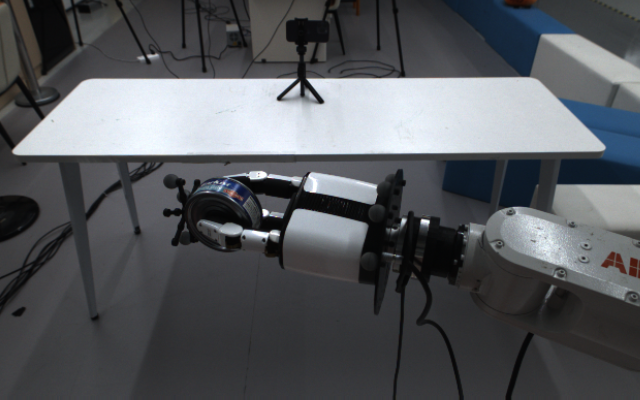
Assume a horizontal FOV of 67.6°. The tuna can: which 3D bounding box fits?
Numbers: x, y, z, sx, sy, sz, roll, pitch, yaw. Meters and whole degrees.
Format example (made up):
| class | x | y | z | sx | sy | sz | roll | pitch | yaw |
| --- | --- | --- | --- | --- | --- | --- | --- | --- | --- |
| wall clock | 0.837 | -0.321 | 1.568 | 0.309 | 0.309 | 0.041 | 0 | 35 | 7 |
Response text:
| class | x | y | z | sx | sy | sz | roll | pitch | yaw |
| --- | --- | --- | --- | --- | --- | --- | --- | --- | --- |
| tuna can | -0.109 | 0.016 | 0.560 | 0.085 | 0.085 | 0.034 | 9 | 33 | 10 |
